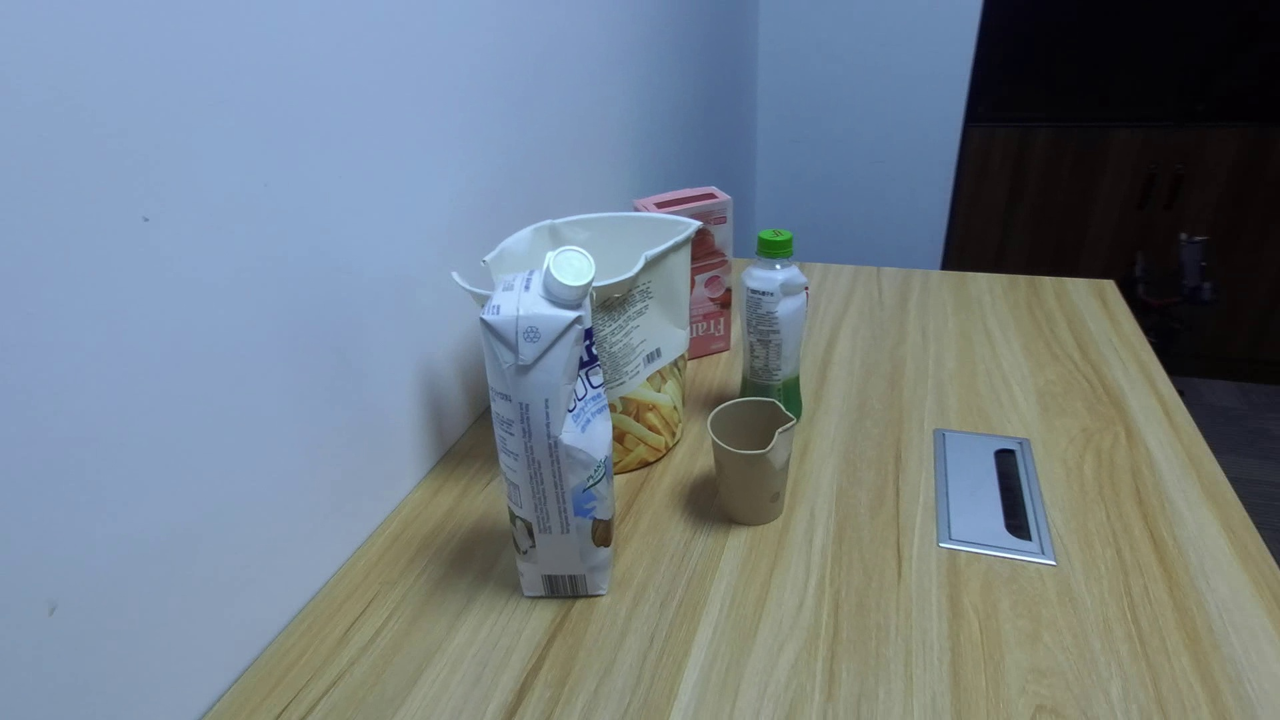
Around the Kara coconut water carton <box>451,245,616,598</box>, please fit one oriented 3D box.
[{"bbox_3d":[-0.059,0.048,0.483,0.078,0.256,0.083,6,30,15],"label":"Kara coconut water carton"}]

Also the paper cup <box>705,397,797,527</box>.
[{"bbox_3d":[0.089,0.085,0.569,0.069,0.081,0.073,-13,29,-13],"label":"paper cup"}]

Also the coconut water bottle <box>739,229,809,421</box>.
[{"bbox_3d":[0.124,-0.027,0.657,0.069,0.186,0.069,-1,26,1],"label":"coconut water bottle"}]

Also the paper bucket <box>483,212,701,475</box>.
[{"bbox_3d":[-0.040,-0.015,0.647,0.145,0.197,0.203,11,32,28],"label":"paper bucket"}]

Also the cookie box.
[{"bbox_3d":[0.048,-0.091,0.790,0.105,0.188,0.048,-12,30,-13],"label":"cookie box"}]
